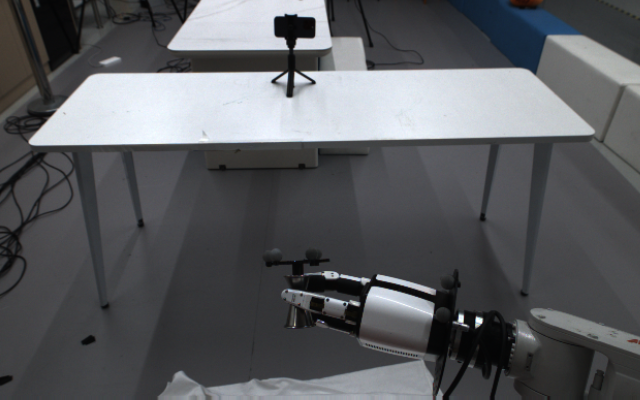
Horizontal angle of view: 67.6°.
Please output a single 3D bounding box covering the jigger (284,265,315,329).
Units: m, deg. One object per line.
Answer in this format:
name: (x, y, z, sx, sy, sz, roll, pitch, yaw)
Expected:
jigger: (-0.028, 0.134, 0.648, 0.043, 0.071, 0.043, -2, -7, 0)
